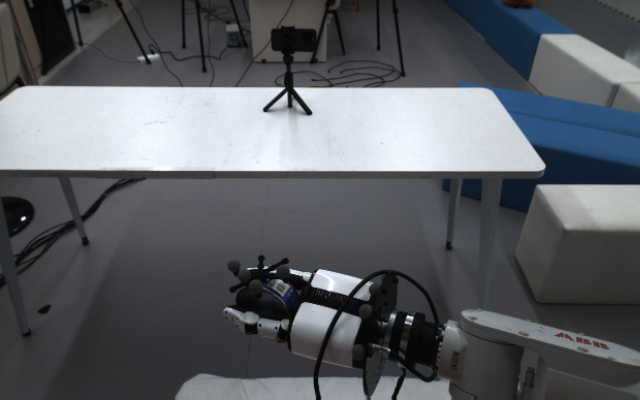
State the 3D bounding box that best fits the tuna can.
[{"bbox_3d":[-0.067,0.141,0.657,0.085,0.085,0.034,17,36,20],"label":"tuna can"}]
